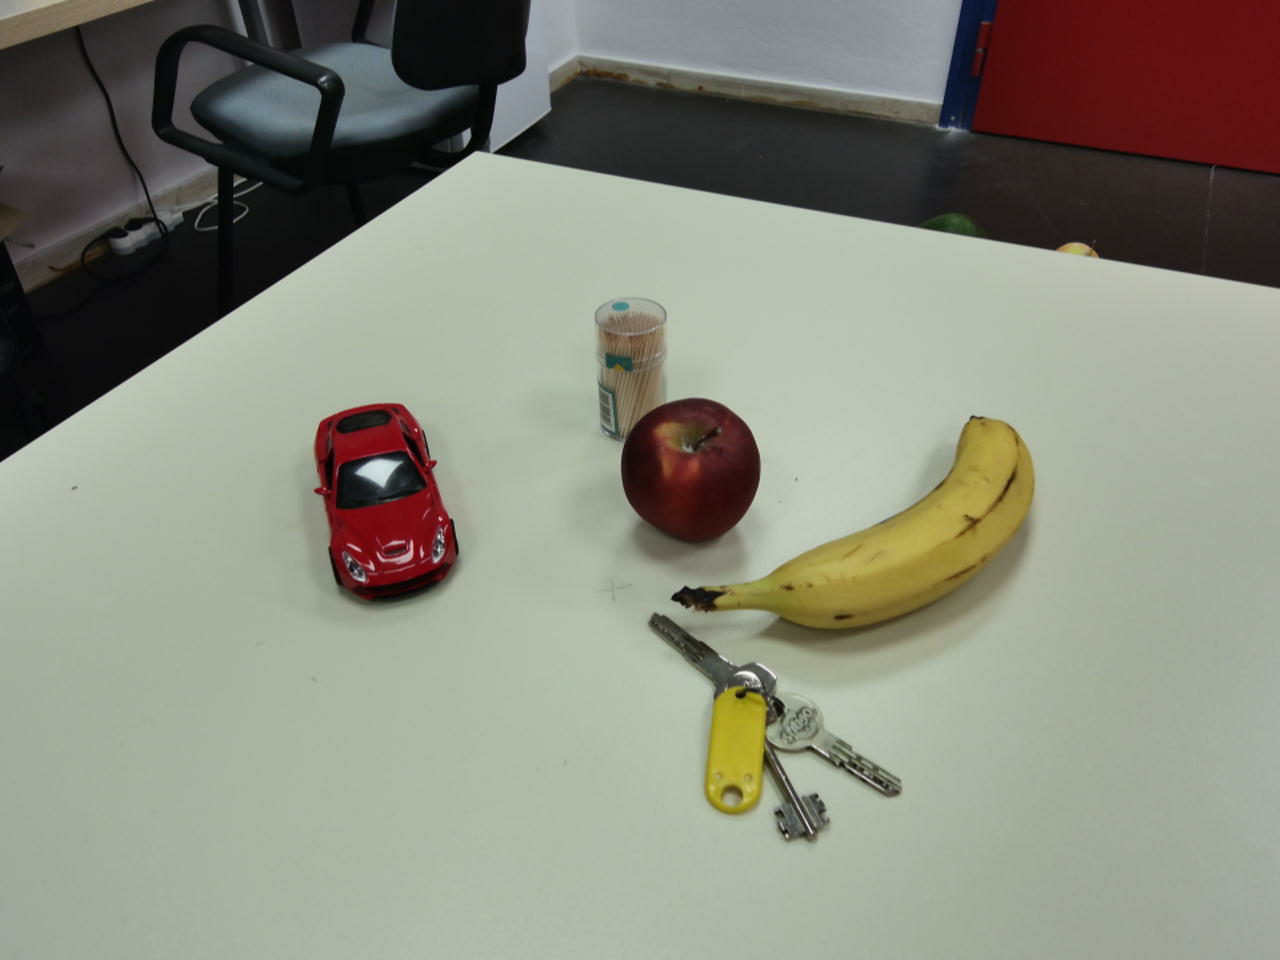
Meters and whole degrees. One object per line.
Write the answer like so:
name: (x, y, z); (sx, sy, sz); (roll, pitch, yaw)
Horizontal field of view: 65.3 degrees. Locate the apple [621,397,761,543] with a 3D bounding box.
apple: (0.025, -0.004, 0.492); (0.070, 0.072, 0.070); (0, 38, 0)
